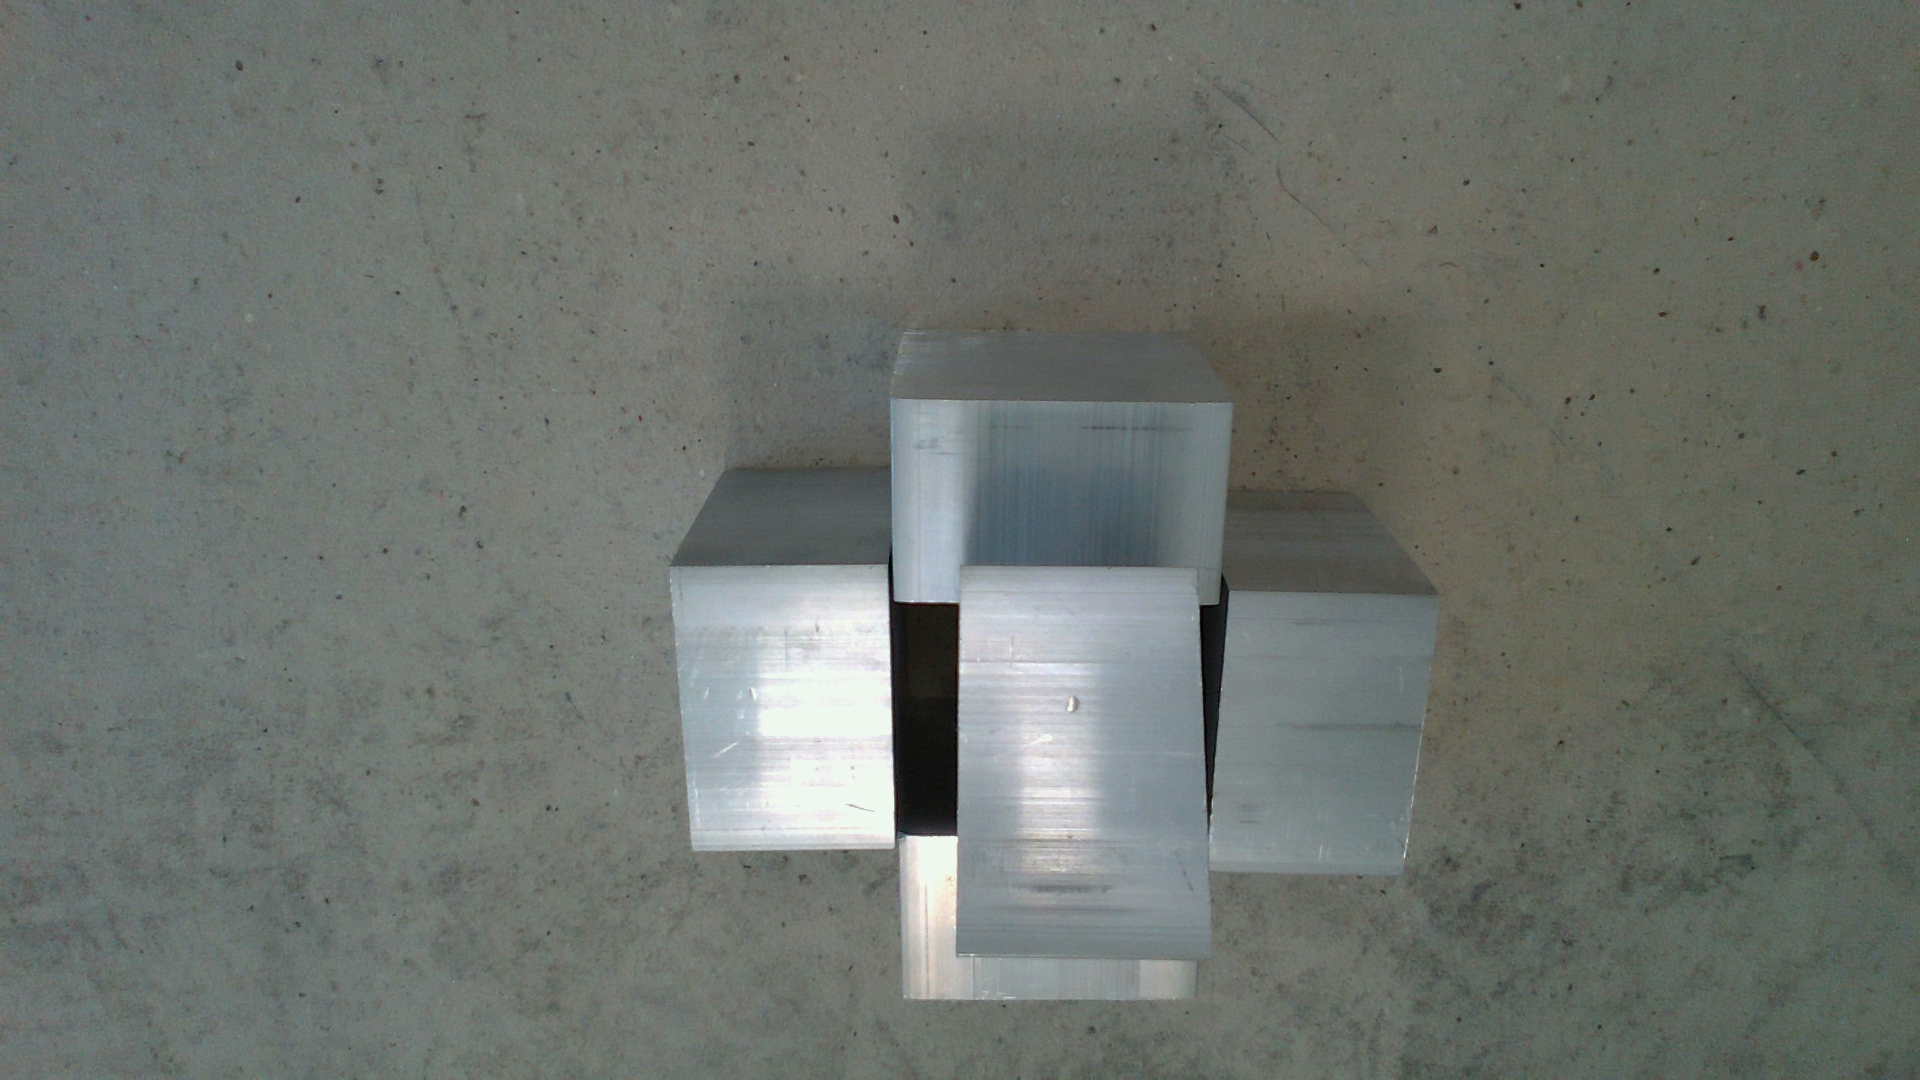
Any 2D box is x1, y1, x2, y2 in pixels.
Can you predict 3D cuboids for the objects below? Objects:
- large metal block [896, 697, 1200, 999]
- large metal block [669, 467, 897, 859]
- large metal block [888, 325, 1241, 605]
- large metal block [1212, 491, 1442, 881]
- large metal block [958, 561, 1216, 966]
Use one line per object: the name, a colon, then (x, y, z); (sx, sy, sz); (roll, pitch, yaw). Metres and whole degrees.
large metal block: (0.024, 0.085, 0.397); (0.080, 0.080, 0.050); (0, 110, 0)
large metal block: (-0.043, 0.030, 0.374); (0.050, 0.080, 0.080); (0, 110, 0)
large metal block: (0.024, -0.022, 0.357); (0.080, 0.080, 0.050); (1, 111, 0)
large metal block: (0.089, 0.036, 0.379); (0.050, 0.080, 0.080); (1, 110, -1)
large metal block: (0.025, 0.053, 0.315); (0.050, 0.080, 0.080); (1, 76, 0)
